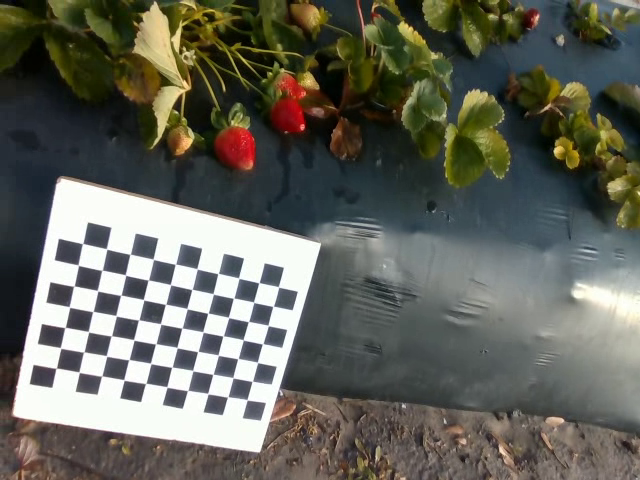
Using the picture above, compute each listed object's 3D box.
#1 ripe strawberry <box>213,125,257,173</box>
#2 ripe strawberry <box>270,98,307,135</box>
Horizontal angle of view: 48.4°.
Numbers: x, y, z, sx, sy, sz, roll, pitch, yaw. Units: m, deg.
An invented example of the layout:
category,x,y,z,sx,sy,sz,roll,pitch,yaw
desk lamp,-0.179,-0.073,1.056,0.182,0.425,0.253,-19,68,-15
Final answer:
category,x,y,z,sx,sy,sz,roll,pitch,yaw
ripe strawberry,-0.092,-0.103,0.809,0.050,0.065,0.050,-26,-38,-8
ripe strawberry,-0.036,-0.146,0.859,0.055,0.045,0.041,41,-1,32
